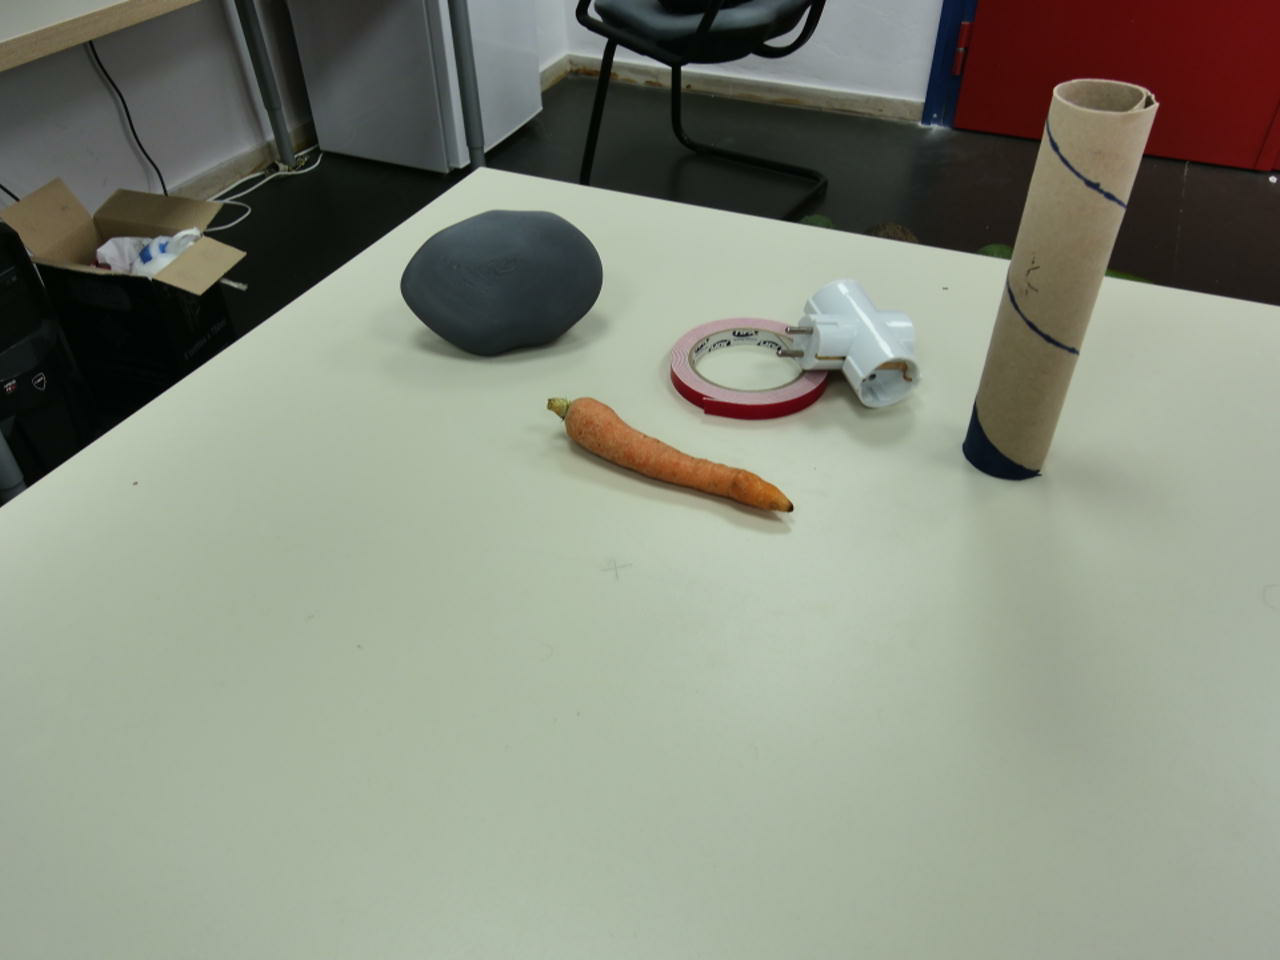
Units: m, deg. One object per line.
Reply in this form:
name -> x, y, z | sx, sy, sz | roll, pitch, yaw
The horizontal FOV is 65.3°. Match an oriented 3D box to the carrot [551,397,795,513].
carrot -> 0.016, -0.015, 0.616 | 0.173, 0.032, 0.030 | 22, 44, 26
